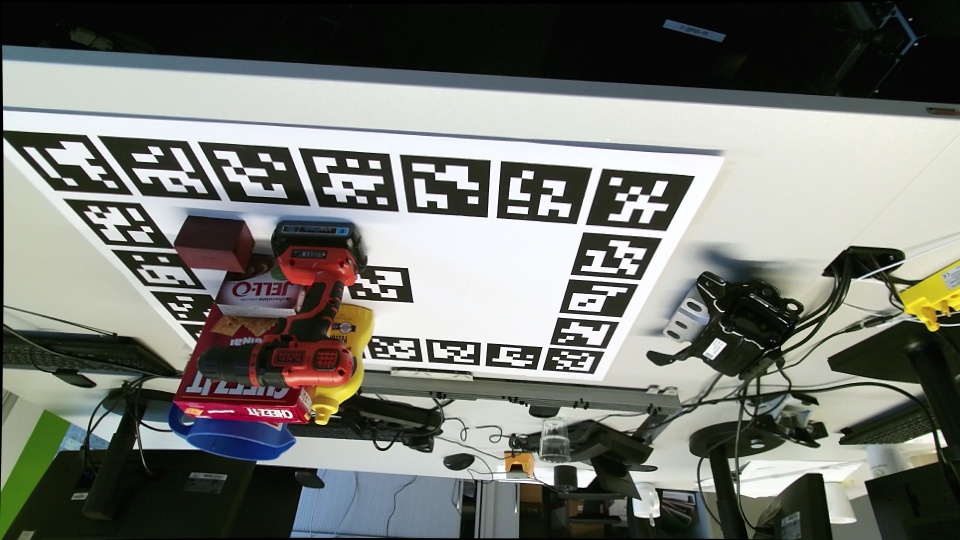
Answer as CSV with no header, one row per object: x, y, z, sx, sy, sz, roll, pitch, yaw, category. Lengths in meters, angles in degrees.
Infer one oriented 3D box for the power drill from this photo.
-0.248,0.057,0.668,0.185,0.186,0.057,3,146,2,power drill

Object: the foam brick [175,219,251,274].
-0.362,-0.032,0.728,0.078,0.051,0.053,5,141,-1,foam brick

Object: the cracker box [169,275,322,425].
-0.320,0.107,0.766,0.165,0.212,0.072,0,145,1,cracker box

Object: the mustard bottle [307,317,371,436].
-0.236,0.169,0.851,0.096,0.190,0.058,11,141,-10,mustard bottle

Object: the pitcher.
-0.370,0.170,0.845,0.189,0.241,0.133,6,143,-6,pitcher

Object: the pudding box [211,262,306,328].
-0.308,0.036,0.759,0.114,0.089,0.039,2,144,-2,pudding box
